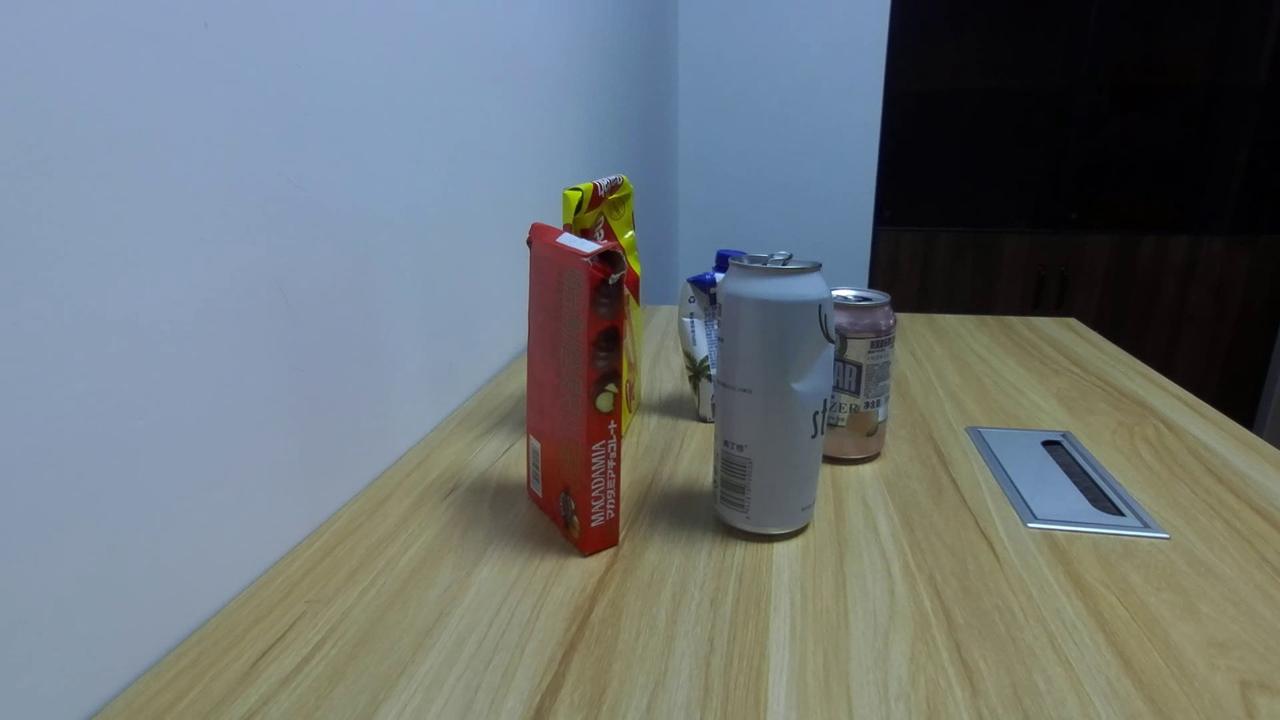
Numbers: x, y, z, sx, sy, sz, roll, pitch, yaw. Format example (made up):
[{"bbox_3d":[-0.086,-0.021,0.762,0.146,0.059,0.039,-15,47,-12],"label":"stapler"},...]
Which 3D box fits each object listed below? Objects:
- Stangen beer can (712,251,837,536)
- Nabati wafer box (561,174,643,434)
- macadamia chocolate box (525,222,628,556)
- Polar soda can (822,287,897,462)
[{"bbox_3d":[0.081,0.020,0.438,0.069,0.173,0.070,2,16,5],"label":"Stangen beer can"},{"bbox_3d":[-0.029,-0.046,0.596,0.042,0.205,0.113,3,22,13],"label":"Nabati wafer box"},{"bbox_3d":[-0.044,0.014,0.439,0.027,0.187,0.102,-7,19,-30],"label":"macadamia chocolate box"},{"bbox_3d":[0.159,0.011,0.544,0.067,0.125,0.067,-1,16,1],"label":"Polar soda can"}]
